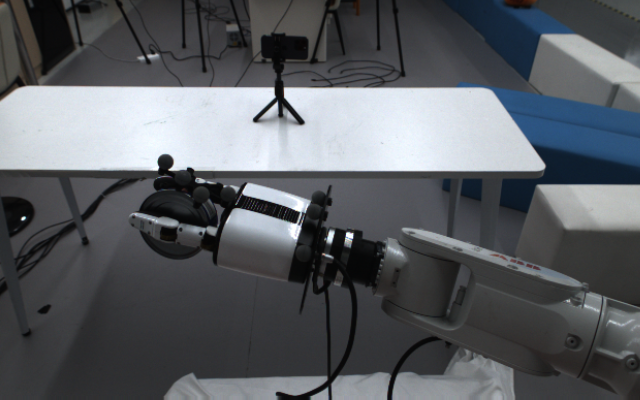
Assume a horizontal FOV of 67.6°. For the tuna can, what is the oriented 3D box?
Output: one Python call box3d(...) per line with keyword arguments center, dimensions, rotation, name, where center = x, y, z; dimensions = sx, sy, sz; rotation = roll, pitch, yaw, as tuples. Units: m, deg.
box3d(center=(-0.163, 0.024, 0.567), dimensions=(0.085, 0.085, 0.034), rotation=(7, 17, 6), name="tuna can")
